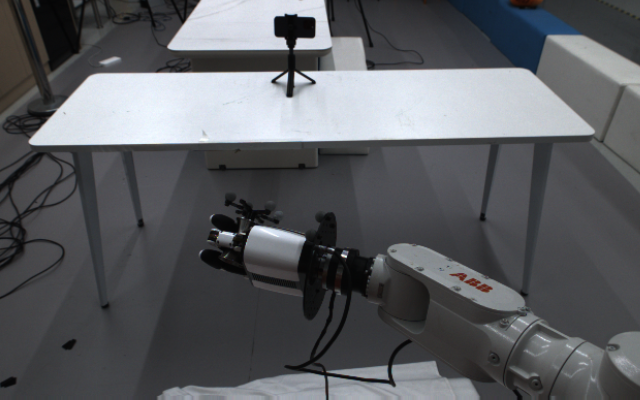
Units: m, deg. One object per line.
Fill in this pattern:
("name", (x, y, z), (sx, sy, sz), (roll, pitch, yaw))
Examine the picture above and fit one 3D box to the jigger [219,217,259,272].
("jigger", (-0.119, 0.065, 0.739), (0.043, 0.043, 0.071), (13, 70, 16))
